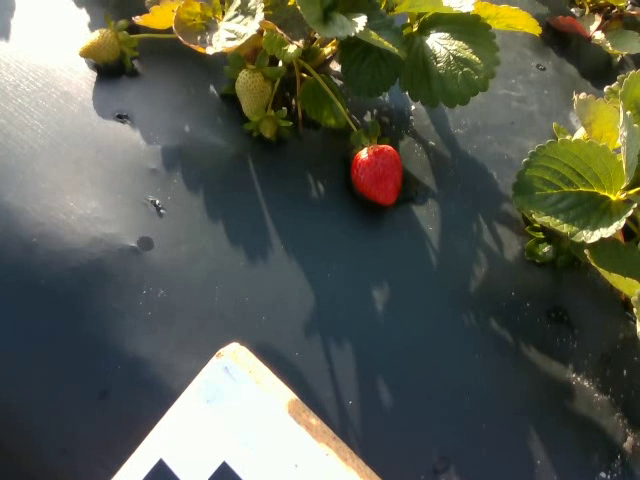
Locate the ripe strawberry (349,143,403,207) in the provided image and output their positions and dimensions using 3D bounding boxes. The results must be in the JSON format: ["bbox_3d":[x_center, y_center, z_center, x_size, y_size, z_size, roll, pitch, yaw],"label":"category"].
[{"bbox_3d":[0.034,-0.033,0.328,0.030,0.045,0.033,-21,-33,19],"label":"ripe strawberry"}]
